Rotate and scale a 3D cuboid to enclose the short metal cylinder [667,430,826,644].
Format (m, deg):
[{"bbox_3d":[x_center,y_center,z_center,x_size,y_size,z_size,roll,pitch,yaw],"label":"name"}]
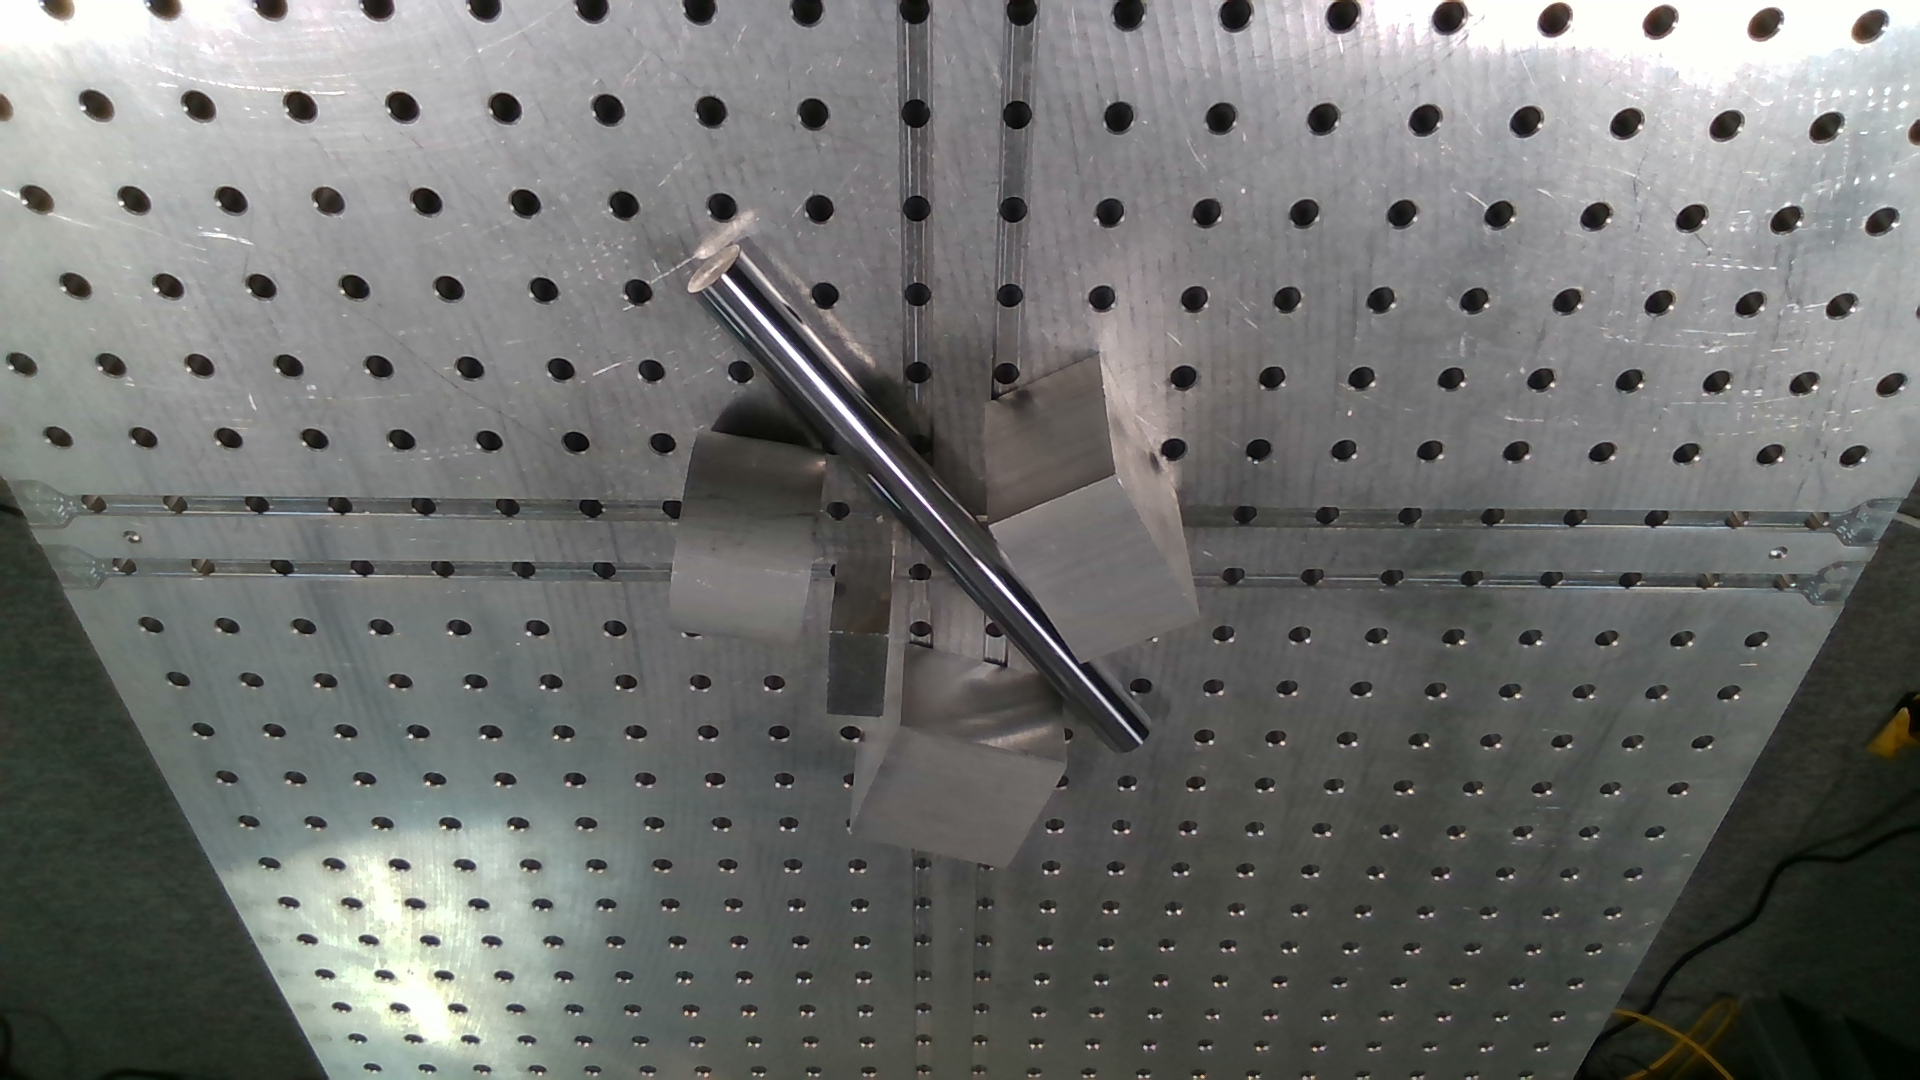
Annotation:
[{"bbox_3d":[-0.084,0.000,0.545,0.050,0.080,0.080,9,129,-7],"label":"short metal cylinder"}]

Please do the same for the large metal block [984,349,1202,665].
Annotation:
[{"bbox_3d":[0.051,-0.013,0.537,0.050,0.080,0.080,-23,126,18],"label":"large metal block"}]

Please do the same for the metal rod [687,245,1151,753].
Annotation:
[{"bbox_3d":[-0.004,-0.003,0.579,0.025,0.025,0.301,-28,125,21],"label":"metal rod"}]

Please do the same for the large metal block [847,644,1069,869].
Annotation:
[{"bbox_3d":[-0.002,0.103,0.649,0.080,0.050,0.080,15,128,-12],"label":"large metal block"}]

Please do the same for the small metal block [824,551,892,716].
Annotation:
[{"bbox_3d":[-0.044,0.041,0.600,0.025,0.050,0.050,4,130,-3],"label":"small metal block"}]
